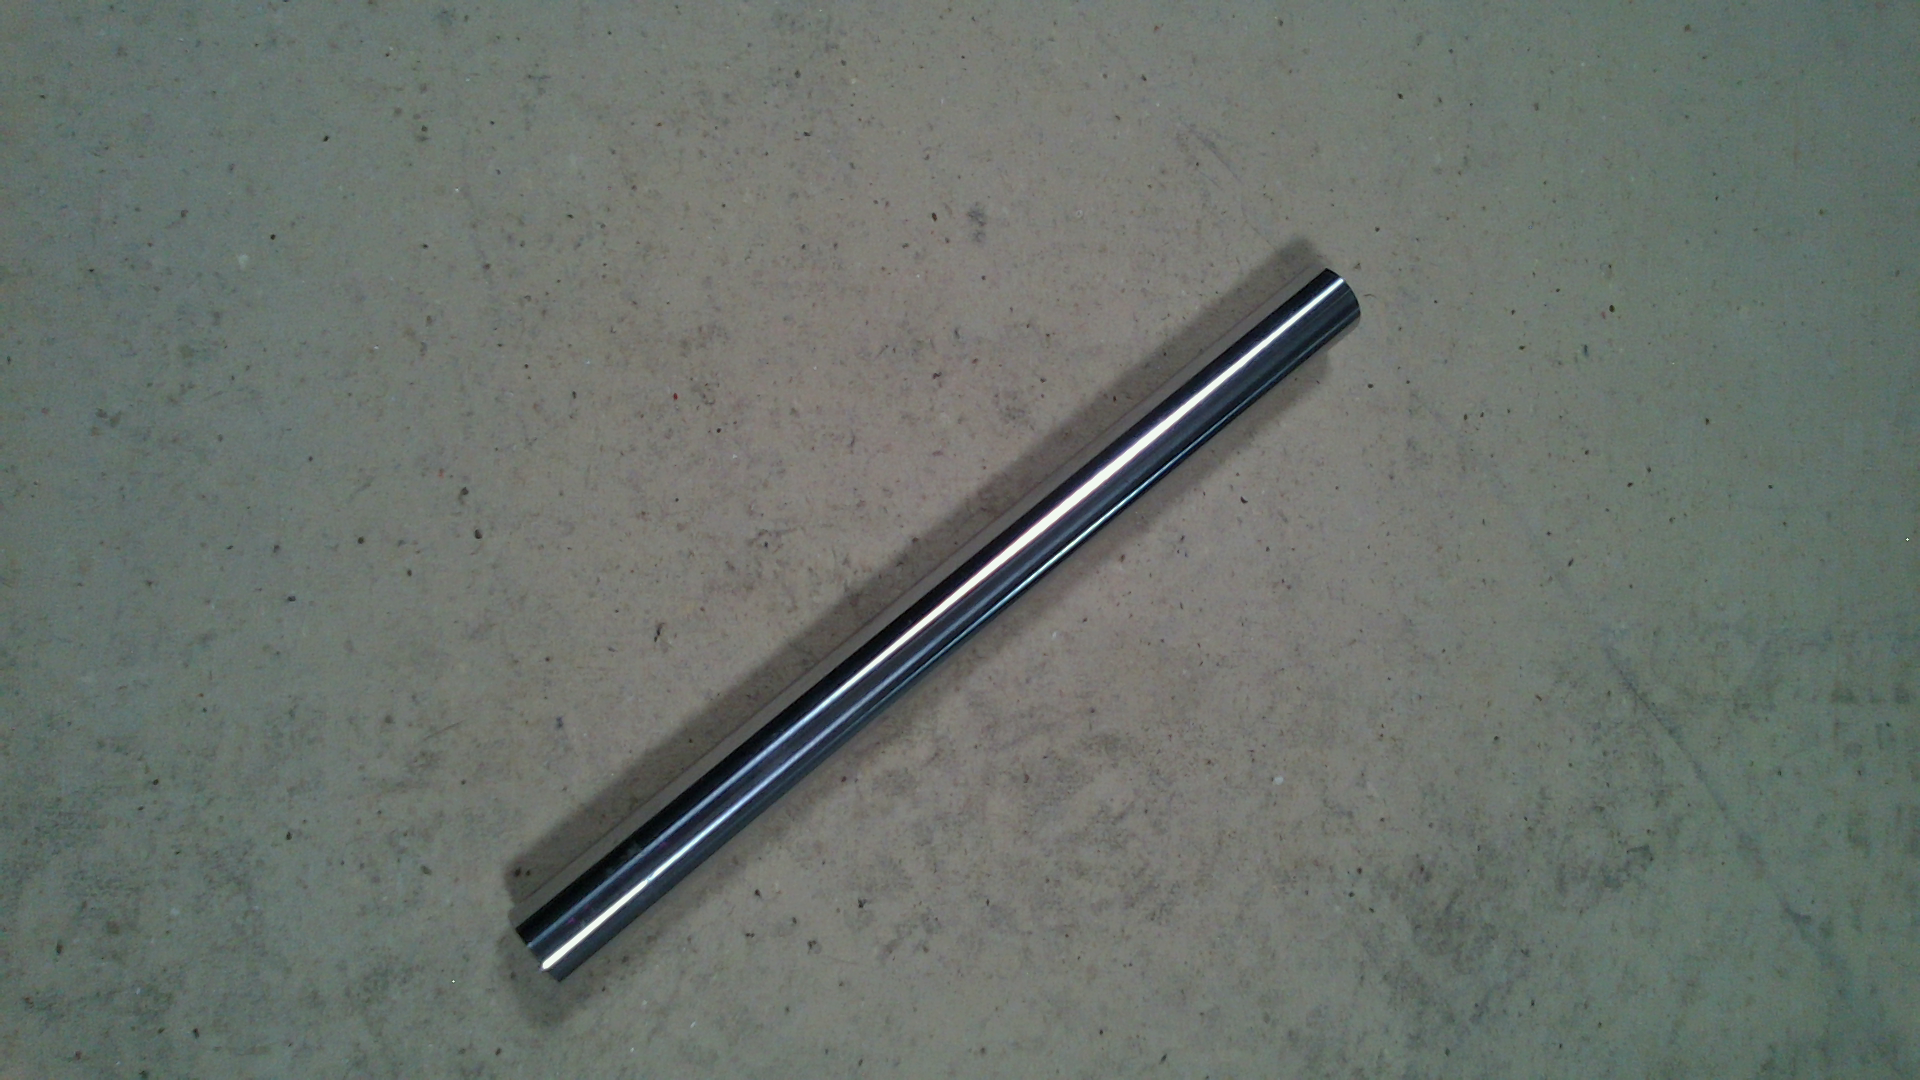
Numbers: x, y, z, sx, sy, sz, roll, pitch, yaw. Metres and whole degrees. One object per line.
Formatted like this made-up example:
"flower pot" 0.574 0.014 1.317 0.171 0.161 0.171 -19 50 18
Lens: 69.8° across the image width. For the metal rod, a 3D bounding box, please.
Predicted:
"metal rod" 0.004 0.014 0.395 0.301 0.025 0.025 -39 102 -16
